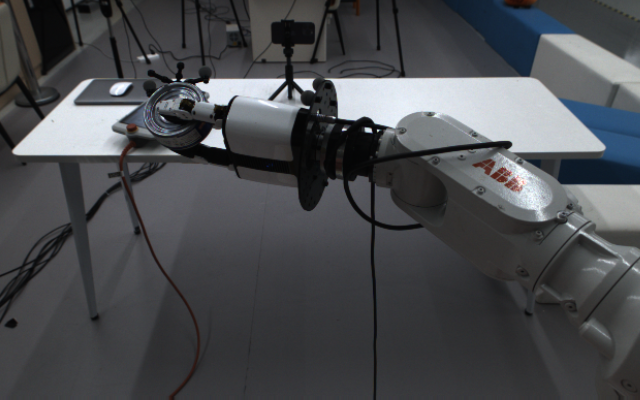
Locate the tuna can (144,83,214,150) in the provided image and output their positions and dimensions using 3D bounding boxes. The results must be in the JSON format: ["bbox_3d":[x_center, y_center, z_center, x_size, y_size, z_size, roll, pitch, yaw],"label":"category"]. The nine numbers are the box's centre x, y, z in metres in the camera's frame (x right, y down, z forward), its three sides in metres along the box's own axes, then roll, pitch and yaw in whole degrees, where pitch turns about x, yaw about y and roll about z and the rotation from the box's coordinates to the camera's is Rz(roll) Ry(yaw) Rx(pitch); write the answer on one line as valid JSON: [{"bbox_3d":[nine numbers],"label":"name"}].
[{"bbox_3d":[-0.184,-0.112,0.632,0.085,0.034,0.085,-4,68,9],"label":"tuna can"}]
